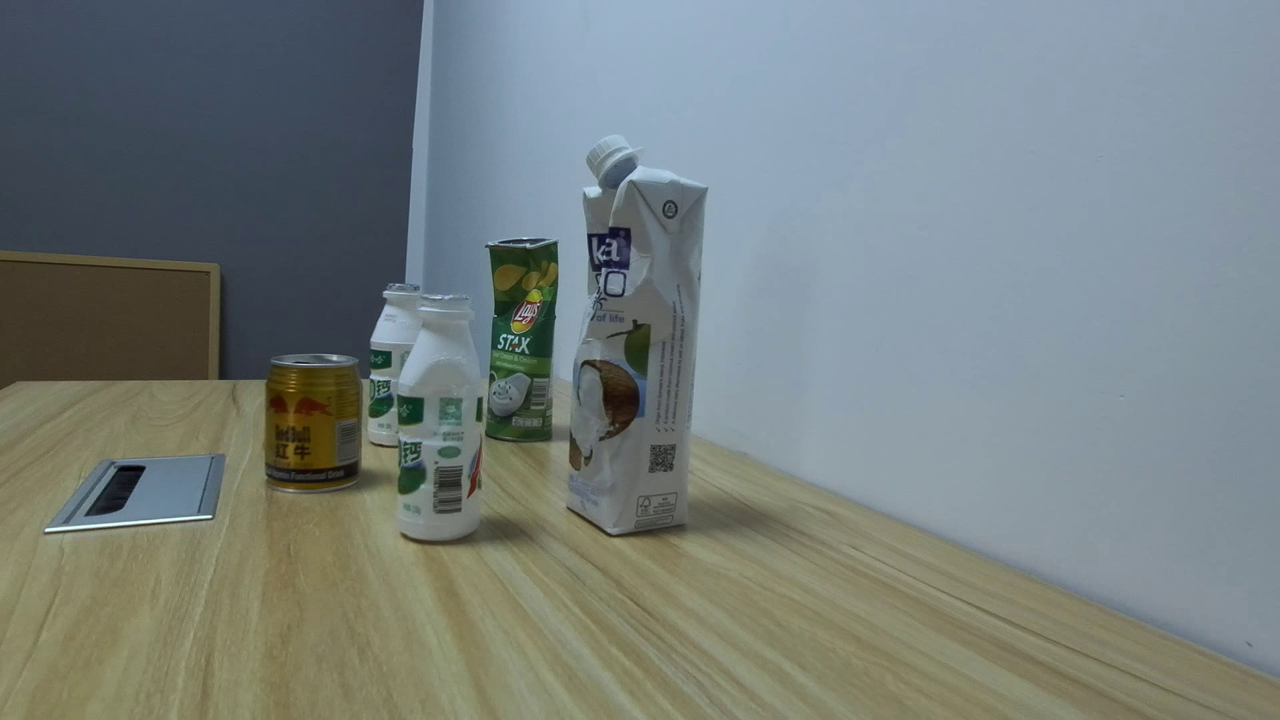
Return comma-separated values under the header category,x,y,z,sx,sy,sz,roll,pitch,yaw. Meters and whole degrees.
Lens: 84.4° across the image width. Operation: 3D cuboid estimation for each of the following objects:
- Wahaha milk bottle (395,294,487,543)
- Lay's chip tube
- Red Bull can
category,x,y,z,sx,sy,sz,roll,pitch,yaw
Wahaha milk bottle,-0.125,0.034,0.440,0.055,0.149,0.055,2,7,0
Lay's chip tube,-0.118,-0.022,0.713,0.077,0.201,0.069,1,7,1
Red Bull can,-0.242,0.046,0.526,0.067,0.093,0.067,3,7,0
